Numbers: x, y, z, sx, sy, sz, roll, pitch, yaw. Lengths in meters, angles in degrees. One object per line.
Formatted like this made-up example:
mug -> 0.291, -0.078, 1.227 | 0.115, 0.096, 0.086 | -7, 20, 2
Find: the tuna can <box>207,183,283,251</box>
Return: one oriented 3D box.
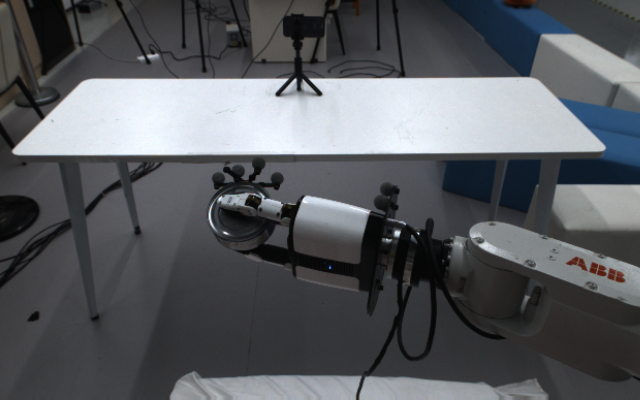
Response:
tuna can -> -0.098, 0.025, 0.616 | 0.085, 0.034, 0.085 | -1, 58, 2
